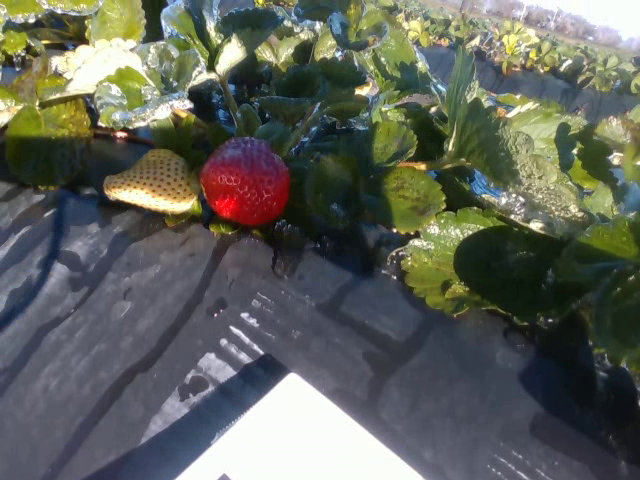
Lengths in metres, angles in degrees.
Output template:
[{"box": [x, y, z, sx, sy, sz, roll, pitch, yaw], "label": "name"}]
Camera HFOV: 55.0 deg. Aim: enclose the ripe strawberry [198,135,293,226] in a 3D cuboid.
[{"box": [-0.039, -0.024, 0.280, 0.042, 0.046, 0.061, 18, 10, 24], "label": "ripe strawberry"}]
